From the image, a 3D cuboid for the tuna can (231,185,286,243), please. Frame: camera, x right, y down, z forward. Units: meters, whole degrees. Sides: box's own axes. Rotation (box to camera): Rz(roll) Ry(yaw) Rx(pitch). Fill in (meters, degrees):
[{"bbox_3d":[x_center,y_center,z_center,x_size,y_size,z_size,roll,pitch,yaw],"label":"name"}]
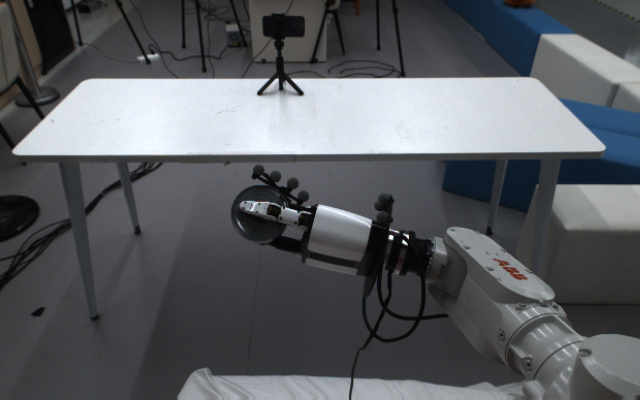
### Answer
[{"bbox_3d":[-0.089,0.023,0.726,0.085,0.034,0.085,1,75,-4],"label":"tuna can"}]
